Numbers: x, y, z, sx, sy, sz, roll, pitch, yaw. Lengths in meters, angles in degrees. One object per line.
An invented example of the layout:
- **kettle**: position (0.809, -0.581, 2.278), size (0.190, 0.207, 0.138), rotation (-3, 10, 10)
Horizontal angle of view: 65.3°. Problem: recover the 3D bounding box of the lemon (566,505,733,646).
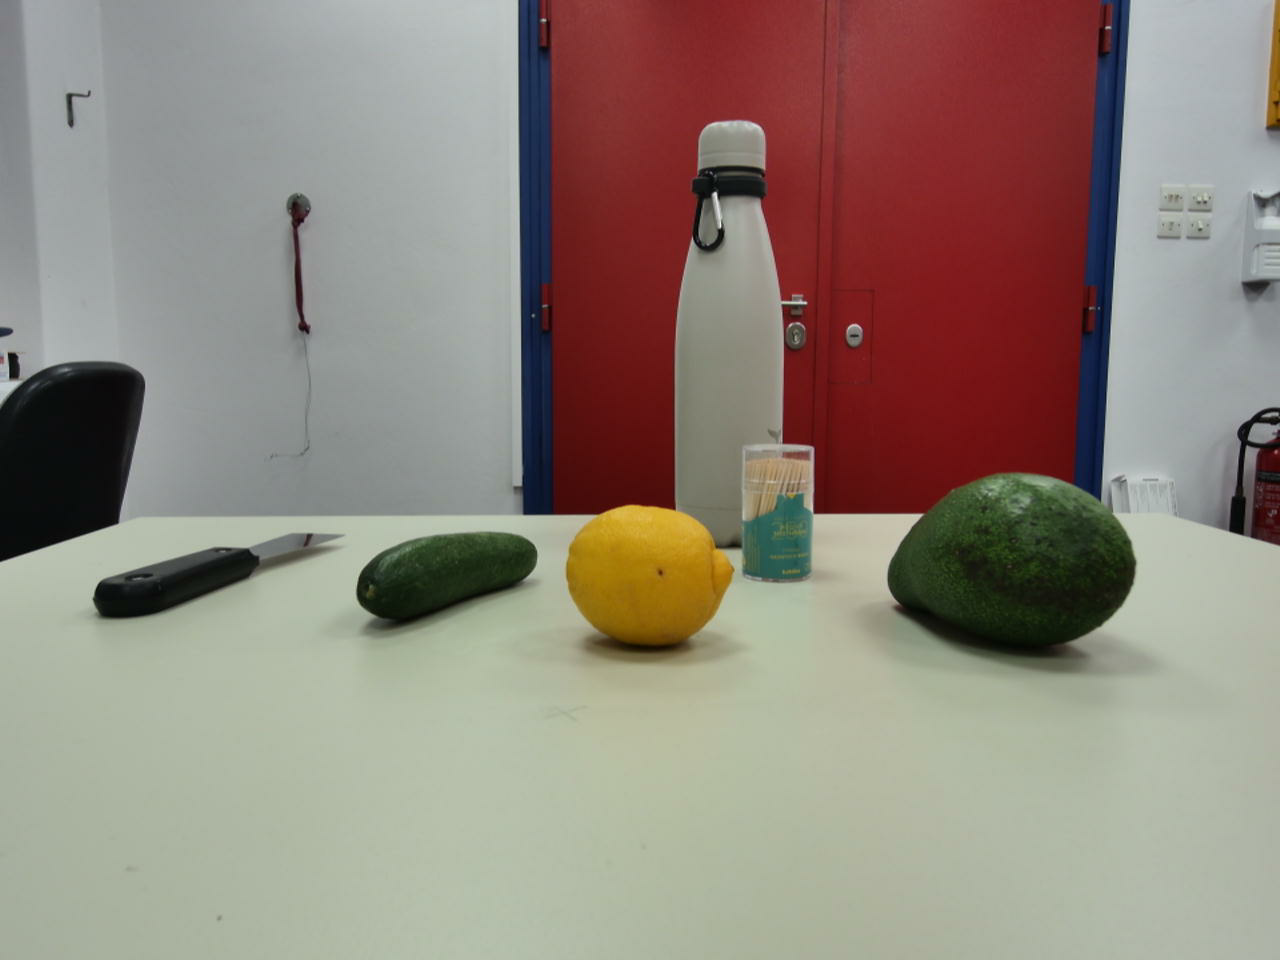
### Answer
- **lemon**: position (0.002, 0.041, 0.430), size (0.067, 0.059, 0.060), rotation (4, 5, 41)
